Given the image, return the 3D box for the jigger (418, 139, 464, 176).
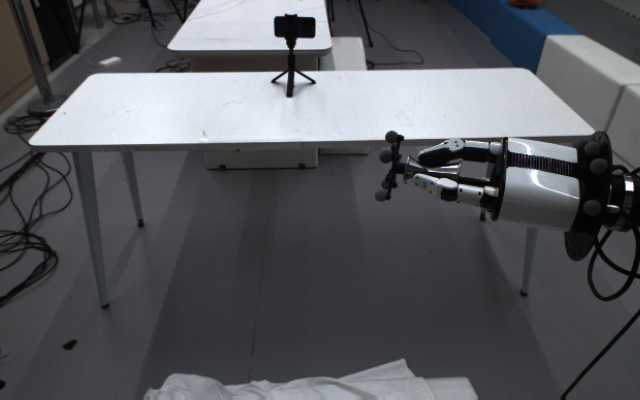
[{"bbox_3d":[0.153,-0.038,0.636,0.071,0.043,0.043,11,36,15],"label":"jigger"}]
